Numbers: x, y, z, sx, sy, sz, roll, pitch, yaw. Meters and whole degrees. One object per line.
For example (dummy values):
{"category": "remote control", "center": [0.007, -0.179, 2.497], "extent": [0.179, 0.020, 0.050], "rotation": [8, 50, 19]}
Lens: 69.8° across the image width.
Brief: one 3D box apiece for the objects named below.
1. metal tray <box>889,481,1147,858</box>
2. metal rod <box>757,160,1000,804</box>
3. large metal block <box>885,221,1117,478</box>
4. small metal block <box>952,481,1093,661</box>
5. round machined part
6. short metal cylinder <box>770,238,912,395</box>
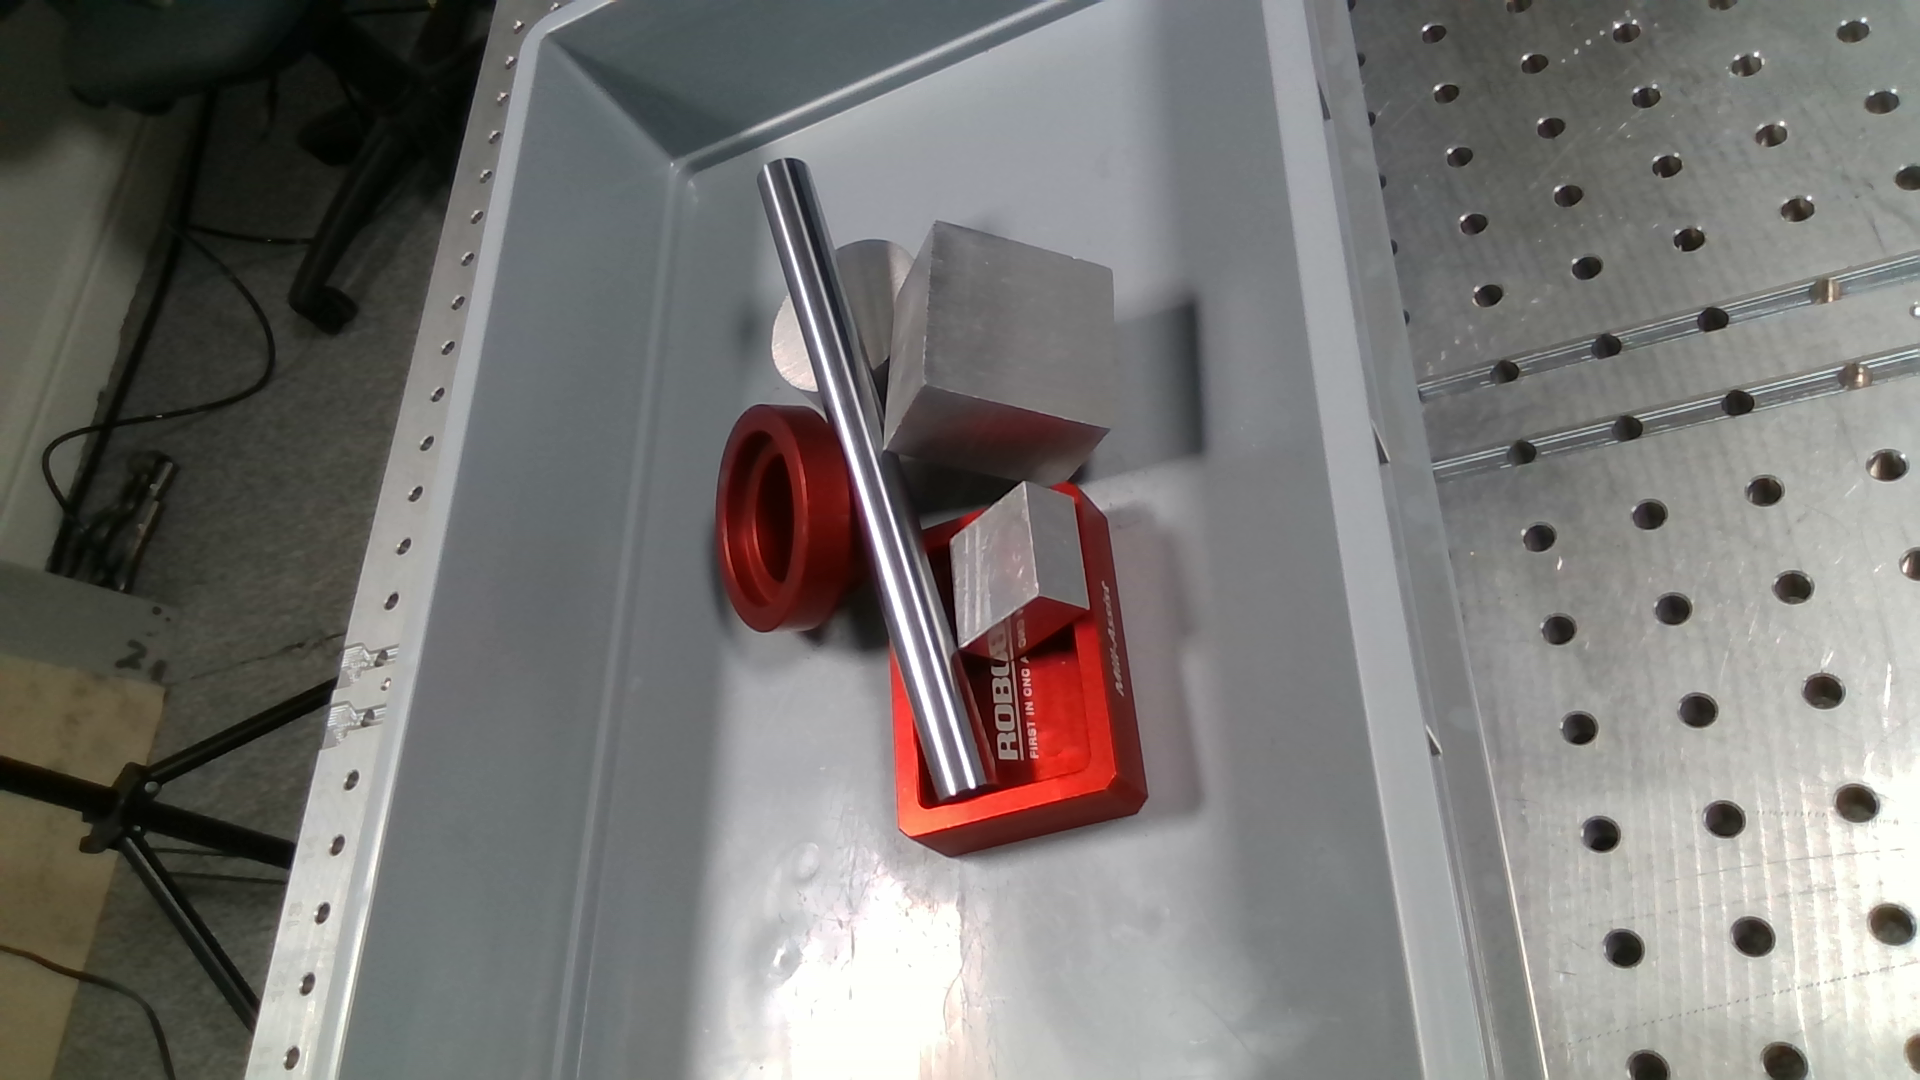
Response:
{"category": "metal tray", "center": [0.018, 0.050, 0.542], "extent": [0.090, 0.030, 0.130], "rotation": [-19, 57, 22]}
{"category": "metal rod", "center": [-0.039, -0.035, 0.573], "extent": [0.025, 0.025, 0.299], "rotation": [-26, 65, 18]}
{"category": "large metal block", "center": [0.018, -0.075, 0.568], "extent": [0.050, 0.080, 0.080], "rotation": [128, 150, -58]}
{"category": "small metal block", "center": [0.023, 0.013, 0.535], "extent": [0.050, 0.025, 0.050], "rotation": [-38, 46, 43]}
{"category": "round machined part", "center": [-0.070, -0.010, 0.600], "extent": [0.098, 0.042, 0.098], "rotation": [0, 91, 59]}
{"category": "short metal cylinder", "center": [-0.041, -0.093, 0.641], "extent": [0.080, 0.050, 0.080], "rotation": [-14, 59, 25]}
